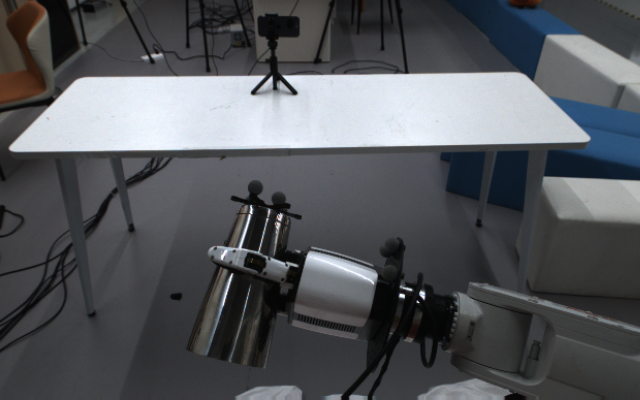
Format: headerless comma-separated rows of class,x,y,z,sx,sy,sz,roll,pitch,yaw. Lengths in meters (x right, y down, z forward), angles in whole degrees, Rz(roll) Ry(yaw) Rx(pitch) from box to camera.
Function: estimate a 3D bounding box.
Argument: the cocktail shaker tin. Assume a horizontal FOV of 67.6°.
cocktail shaker tin,-0.085,0.098,0.561,0.093,0.093,0.170,11,74,12
